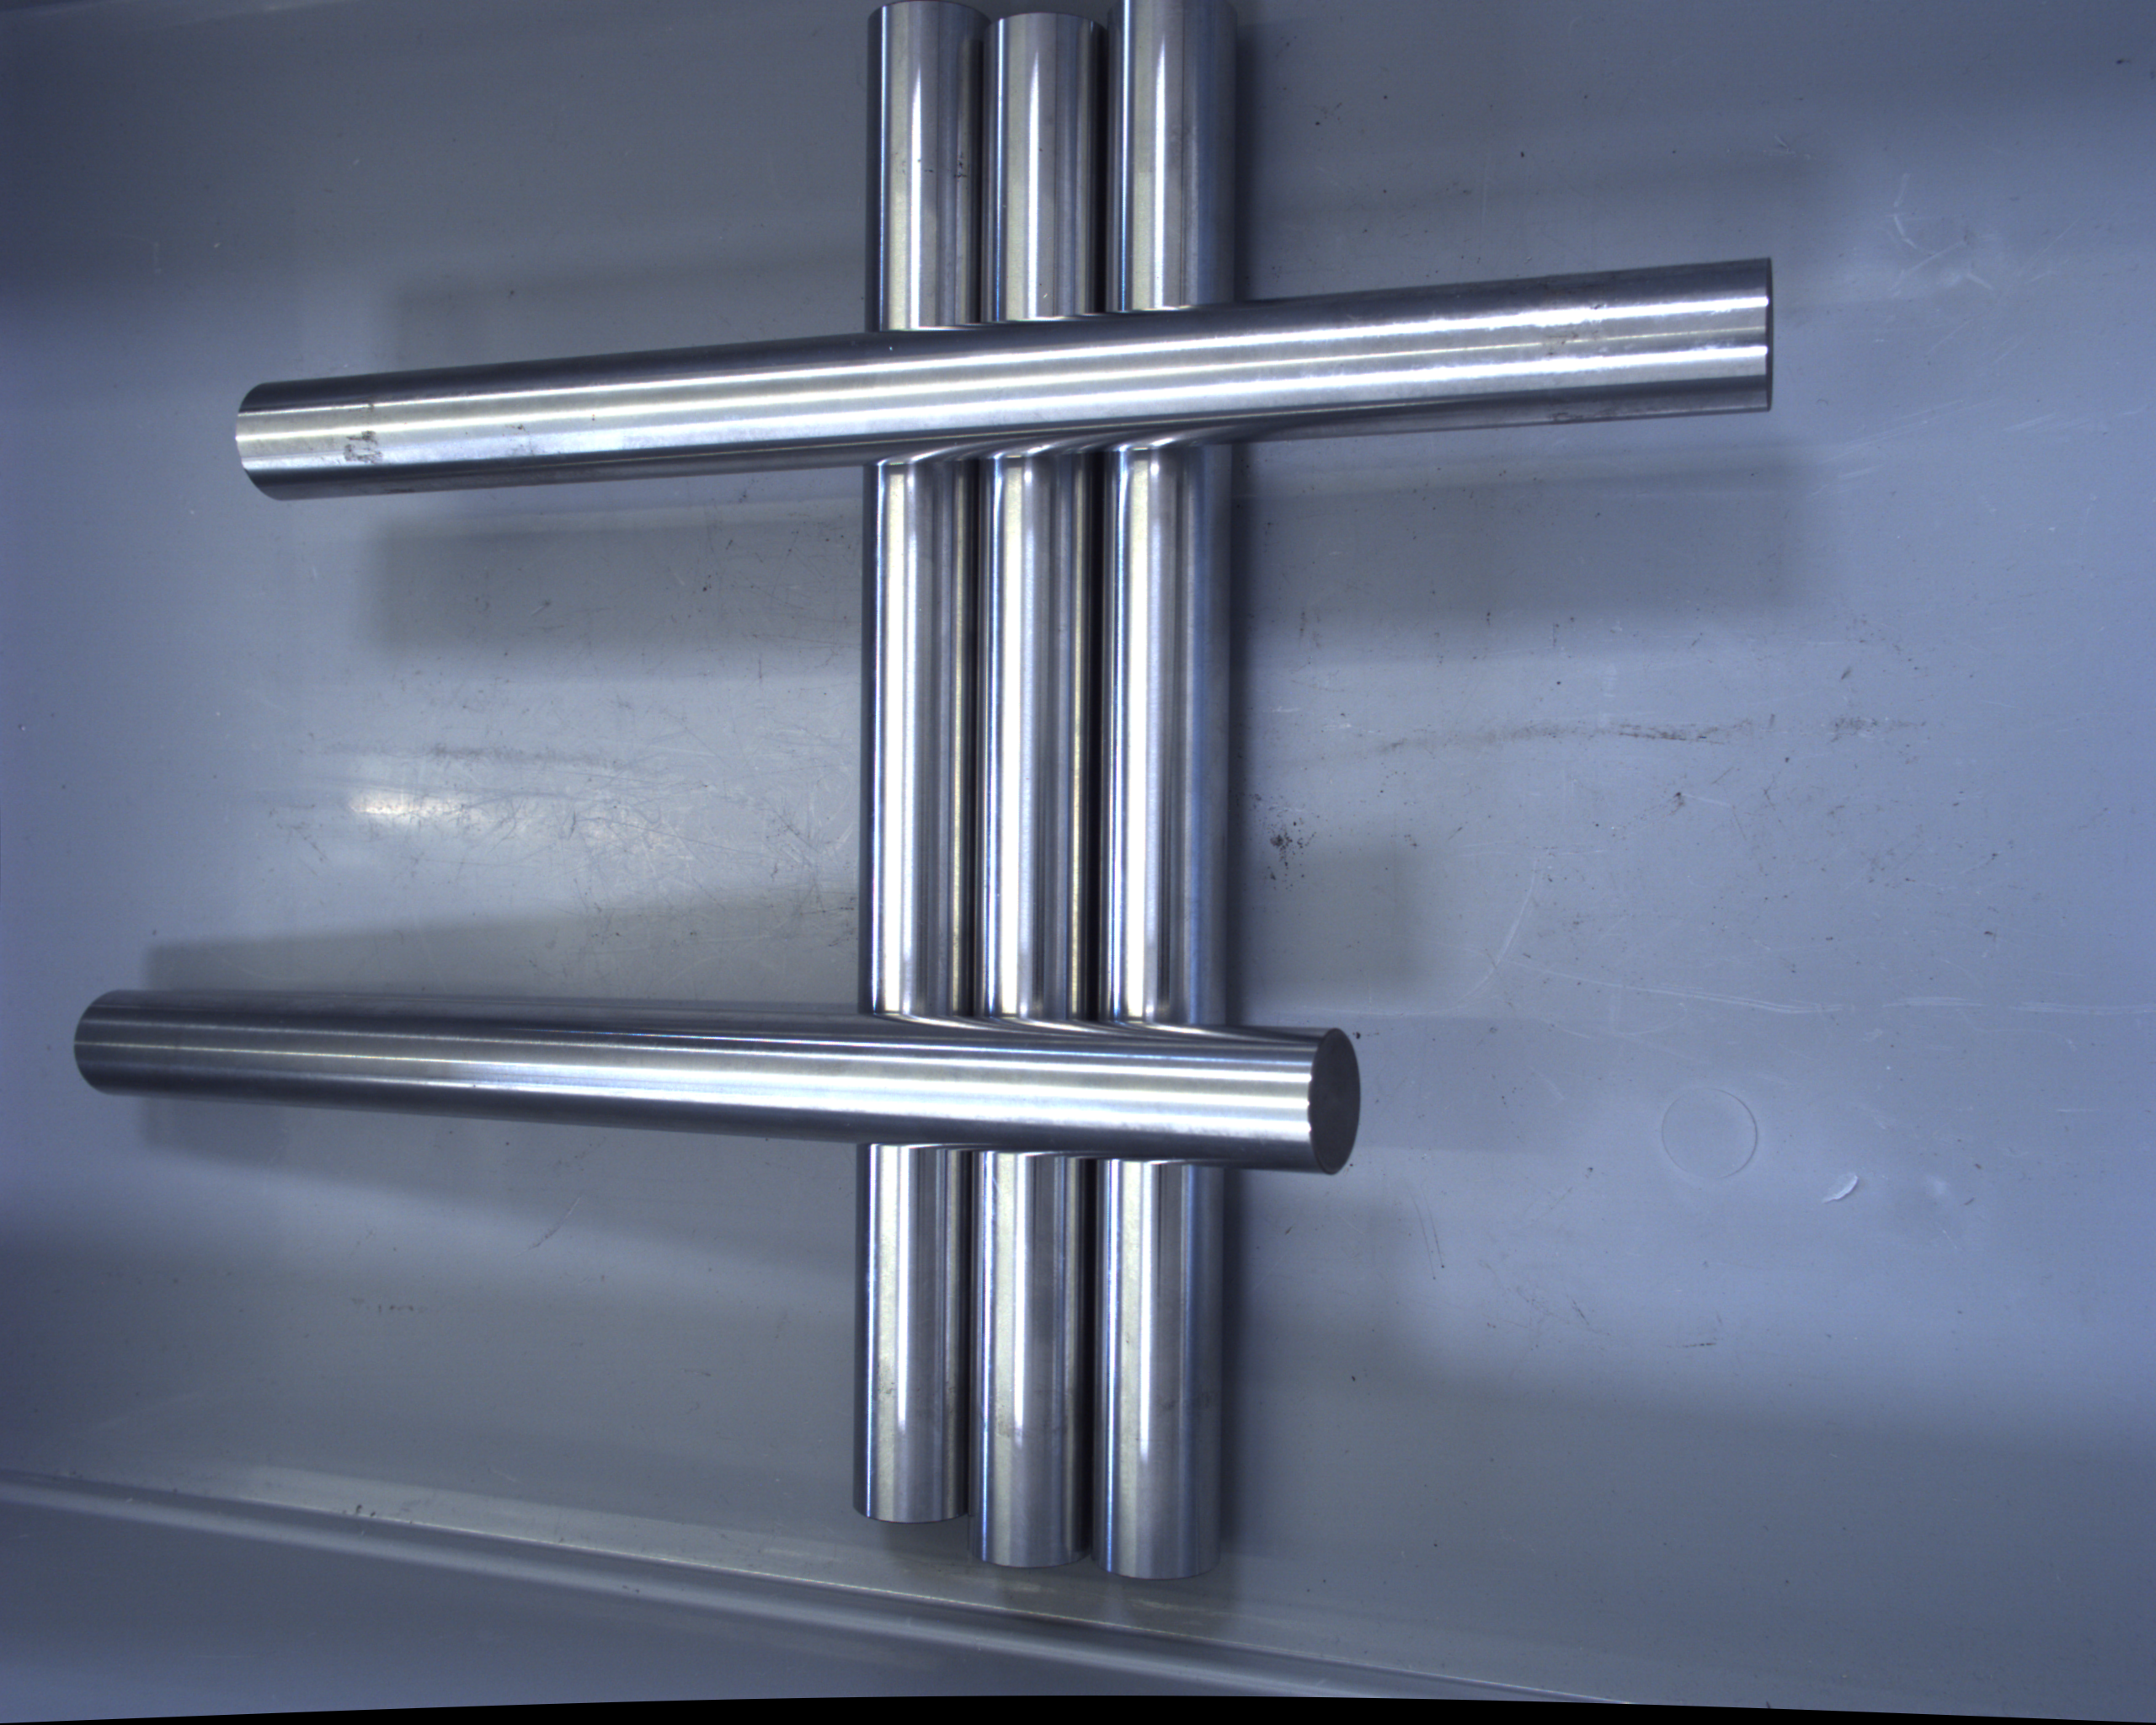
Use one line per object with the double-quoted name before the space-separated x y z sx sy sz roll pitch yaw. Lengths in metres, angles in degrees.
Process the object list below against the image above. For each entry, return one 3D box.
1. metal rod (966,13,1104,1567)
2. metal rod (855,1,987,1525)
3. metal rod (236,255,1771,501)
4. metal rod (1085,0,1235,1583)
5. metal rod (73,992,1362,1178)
"metal rod" -0.008 -0.014 0.412 0.025 0.025 0.298 1 90 20
"metal rod" -0.031 -0.019 0.421 0.025 0.025 0.298 1 90 20
"metal rod" -0.028 -0.088 0.392 0.301 0.025 0.025 0 90 20
"metal rod" 0.016 -0.014 0.403 0.025 0.025 0.298 1 90 20
"metal rod" -0.090 0.042 0.422 0.300 0.025 0.025 0 90 27
